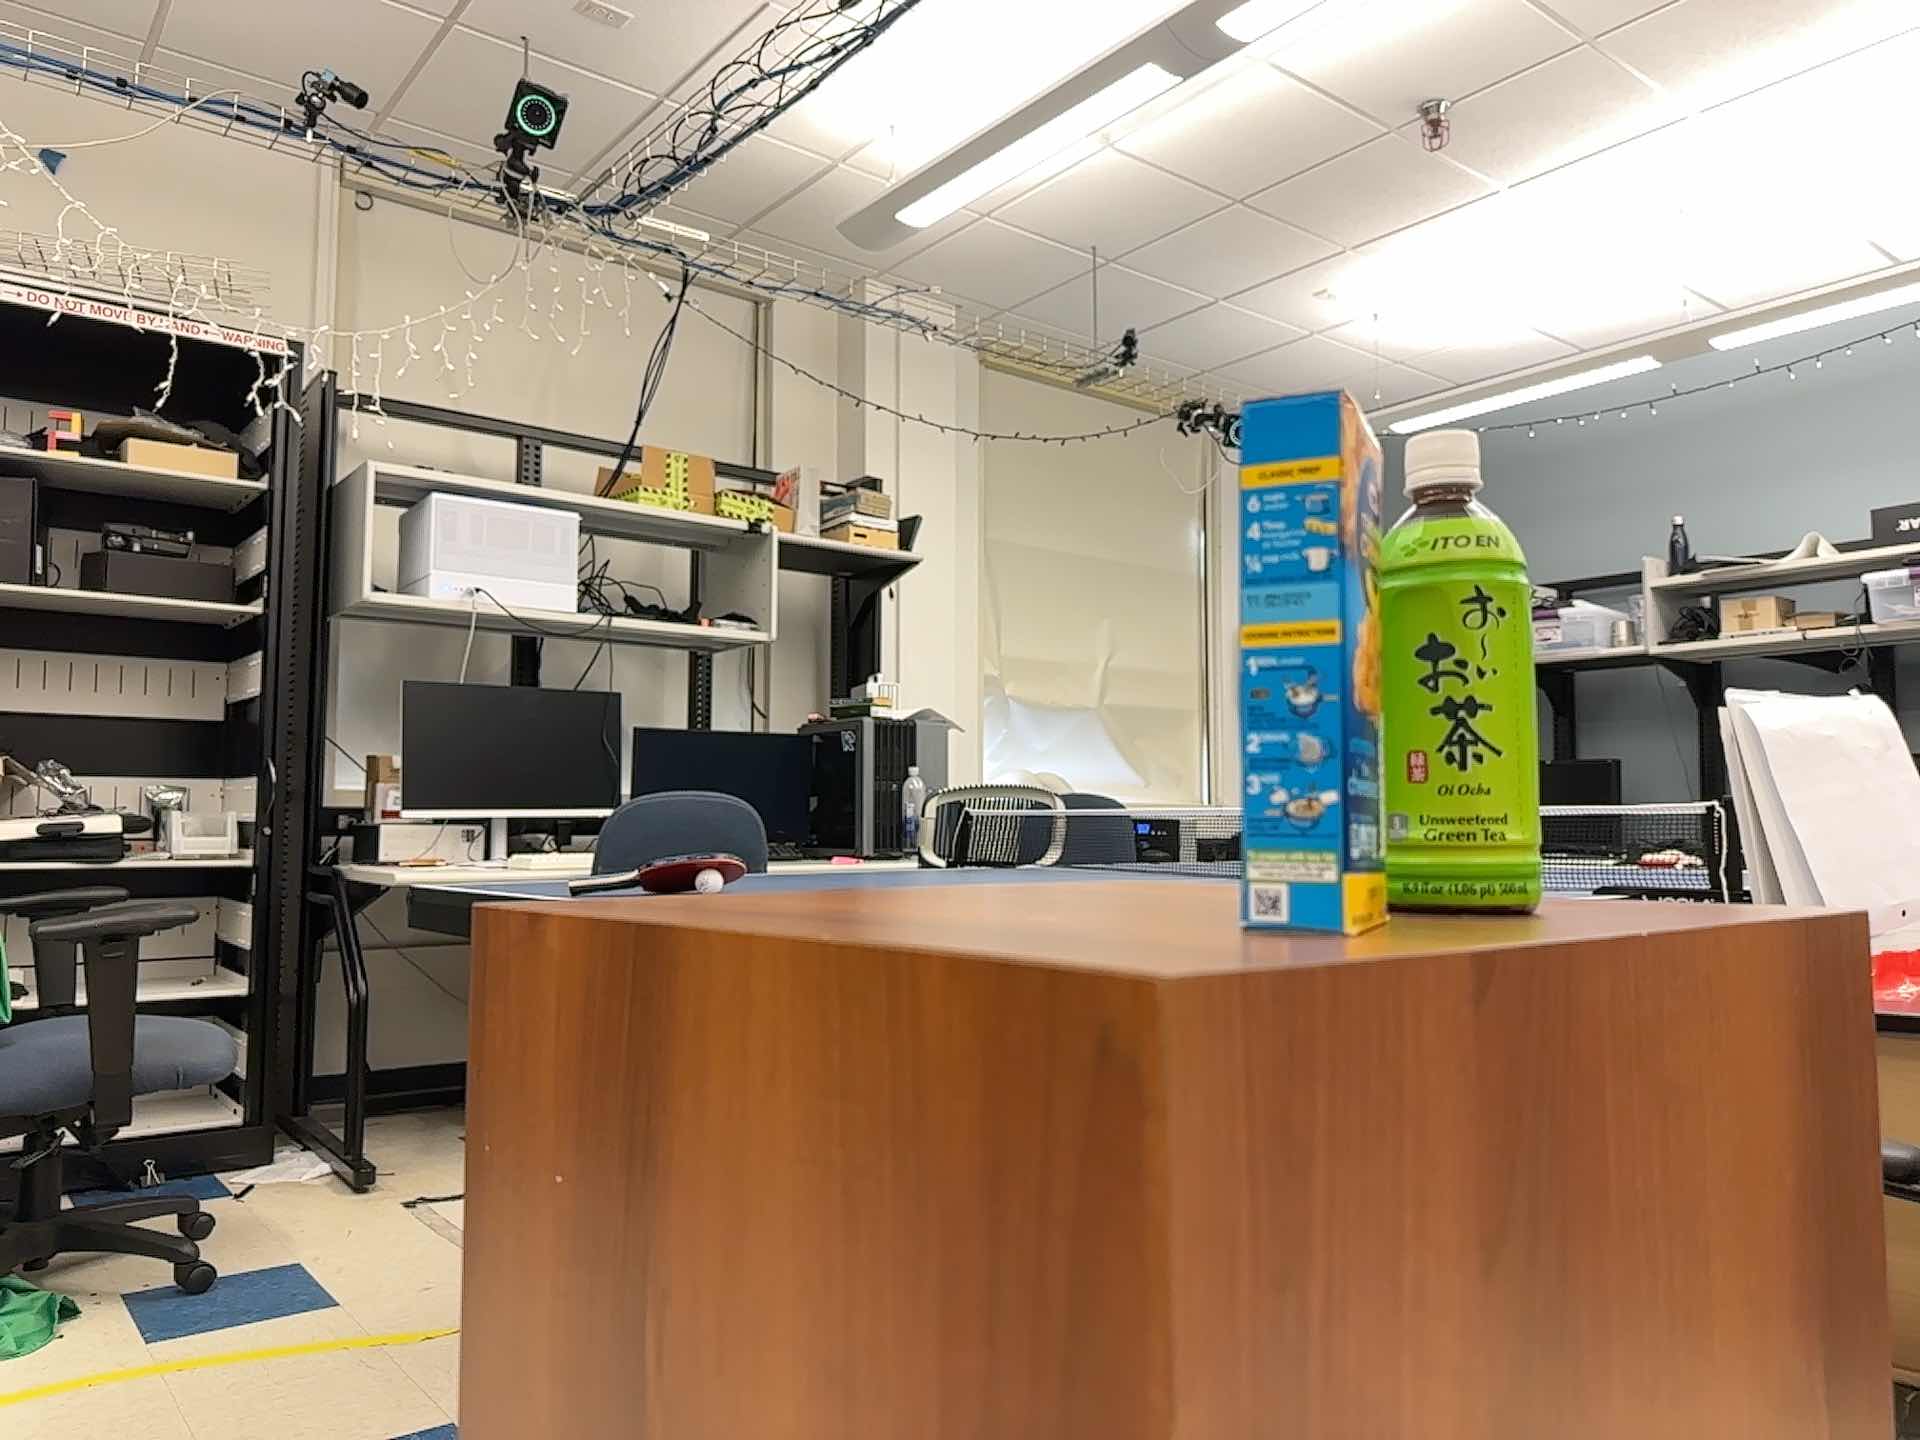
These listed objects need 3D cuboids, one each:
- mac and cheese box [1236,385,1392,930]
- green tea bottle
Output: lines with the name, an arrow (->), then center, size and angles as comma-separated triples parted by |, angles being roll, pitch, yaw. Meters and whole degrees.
mac and cheese box -> 0.131, -0.018, 0.494 | 0.035, 0.181, 0.088 | -2, -6, 28
green tea bottle -> 0.218, -0.022, 0.597 | 0.073, 0.212, 0.073 | 1, -8, 0
